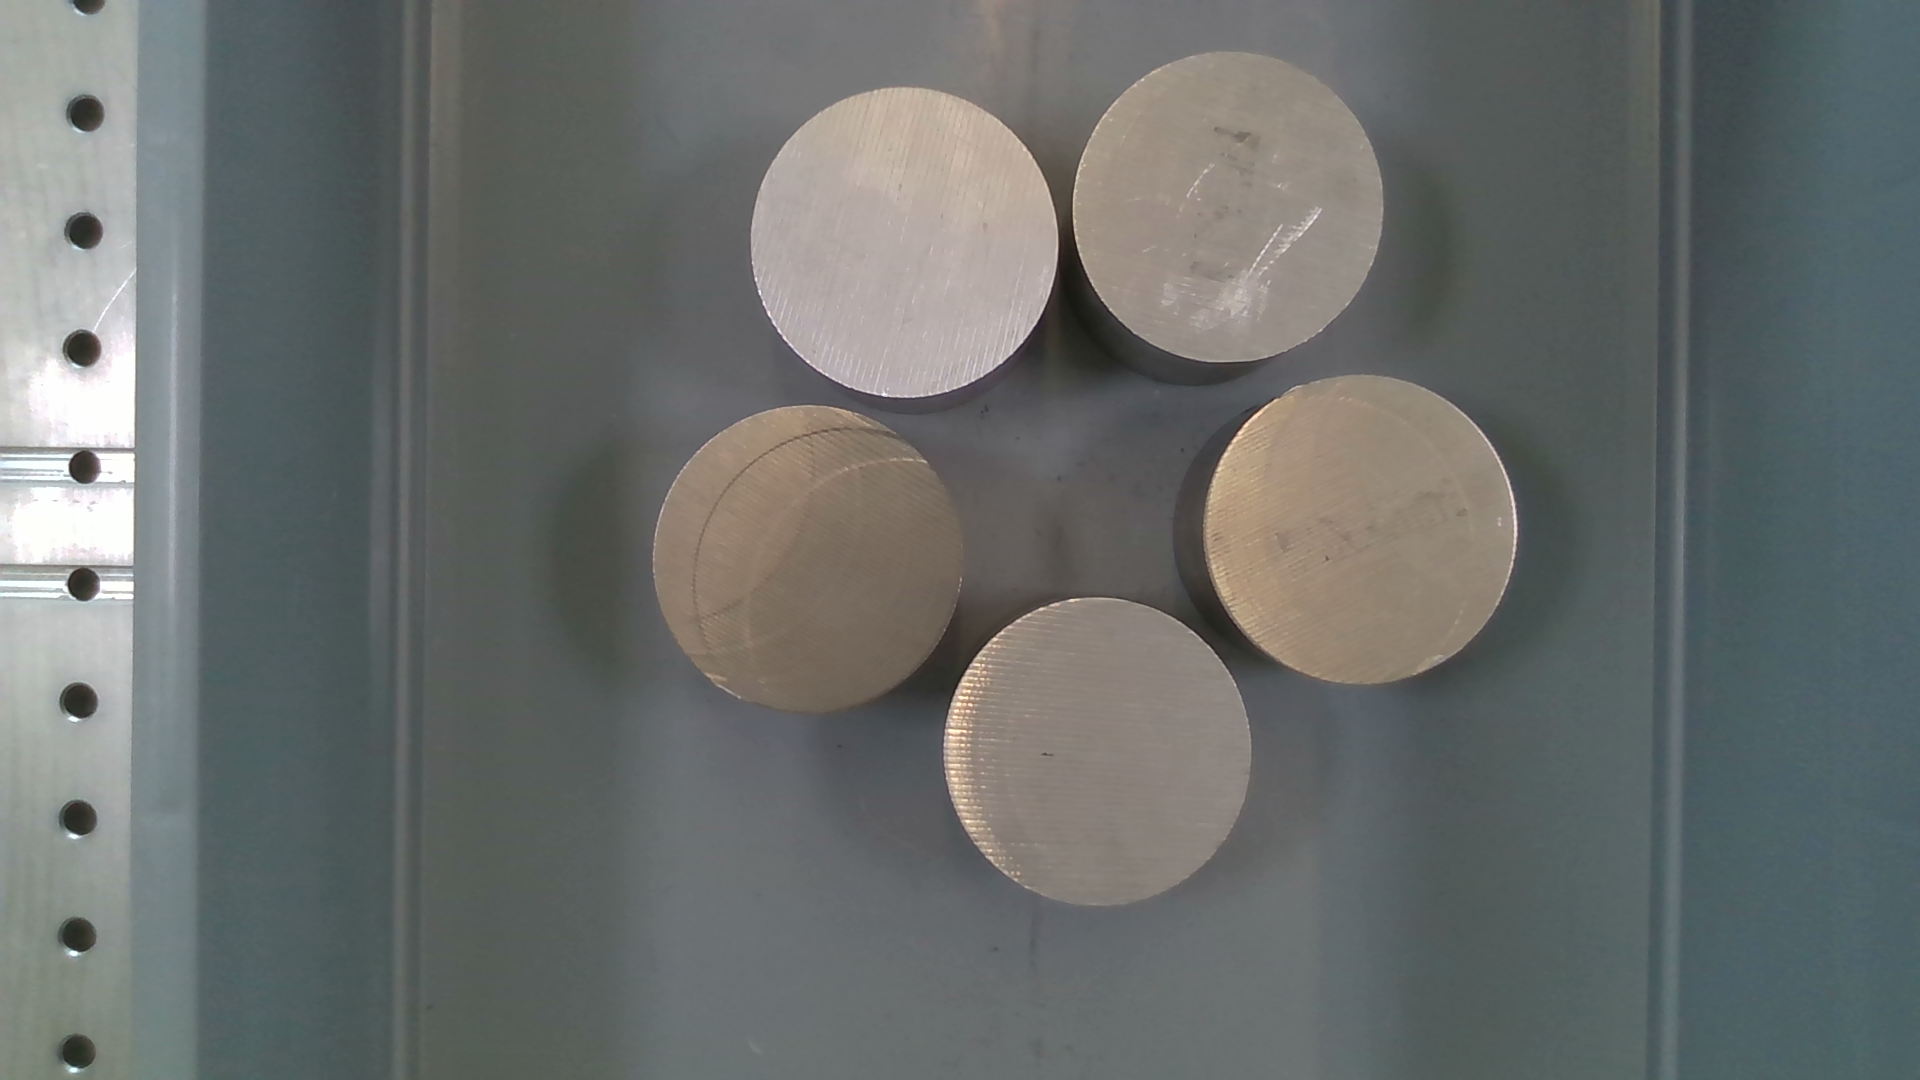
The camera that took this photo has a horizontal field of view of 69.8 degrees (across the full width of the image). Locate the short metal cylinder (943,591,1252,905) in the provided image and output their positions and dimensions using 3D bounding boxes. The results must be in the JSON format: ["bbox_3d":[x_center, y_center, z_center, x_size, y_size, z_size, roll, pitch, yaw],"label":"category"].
[{"bbox_3d":[0.036,0.055,0.382,0.080,0.050,0.080,0,90,0],"label":"short metal cylinder"}]

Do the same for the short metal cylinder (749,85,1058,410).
[{"bbox_3d":[-0.015,-0.078,0.381,0.080,0.050,0.080,0,90,0],"label":"short metal cylinder"}]

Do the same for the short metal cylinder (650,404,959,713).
[{"bbox_3d":[-0.040,0.005,0.381,0.080,0.050,0.080,0,90,0],"label":"short metal cylinder"}]

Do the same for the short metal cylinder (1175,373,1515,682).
[{"bbox_3d":[0.104,-0.003,0.381,0.080,0.050,0.080,0,90,0],"label":"short metal cylinder"}]

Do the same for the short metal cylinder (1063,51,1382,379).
[{"bbox_3d":[0.069,-0.086,0.381,0.080,0.050,0.080,0,90,0],"label":"short metal cylinder"}]
